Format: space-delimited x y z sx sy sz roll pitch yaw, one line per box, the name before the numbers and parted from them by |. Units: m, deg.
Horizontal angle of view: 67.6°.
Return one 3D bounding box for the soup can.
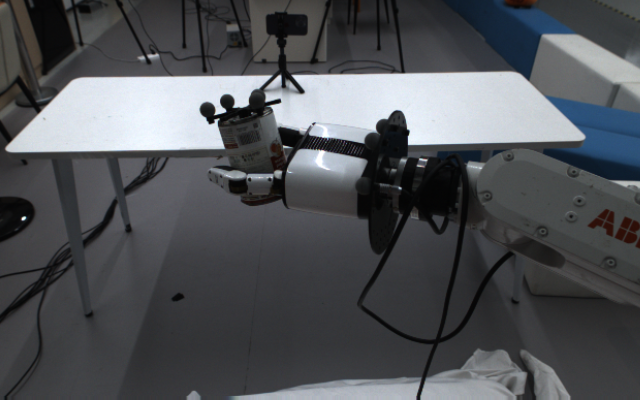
soup can | -0.073 -0.052 0.573 0.067 0.101 0.067 -13 20 5
